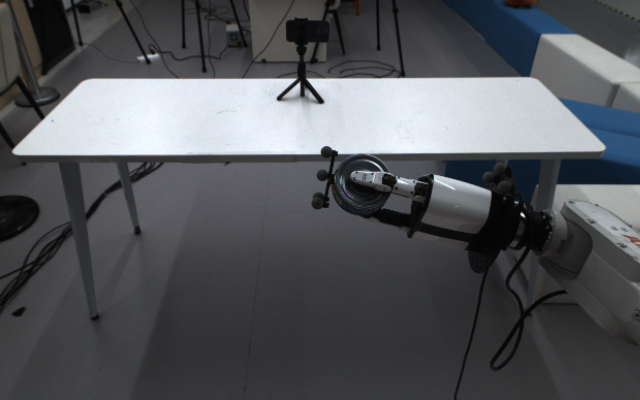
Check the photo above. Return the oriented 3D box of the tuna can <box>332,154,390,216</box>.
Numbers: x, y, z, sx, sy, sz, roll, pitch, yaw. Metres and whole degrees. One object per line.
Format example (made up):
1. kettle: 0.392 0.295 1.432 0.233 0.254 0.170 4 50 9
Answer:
1. tuna can: 0.064 -0.020 0.695 0.085 0.034 0.085 2 73 -5
